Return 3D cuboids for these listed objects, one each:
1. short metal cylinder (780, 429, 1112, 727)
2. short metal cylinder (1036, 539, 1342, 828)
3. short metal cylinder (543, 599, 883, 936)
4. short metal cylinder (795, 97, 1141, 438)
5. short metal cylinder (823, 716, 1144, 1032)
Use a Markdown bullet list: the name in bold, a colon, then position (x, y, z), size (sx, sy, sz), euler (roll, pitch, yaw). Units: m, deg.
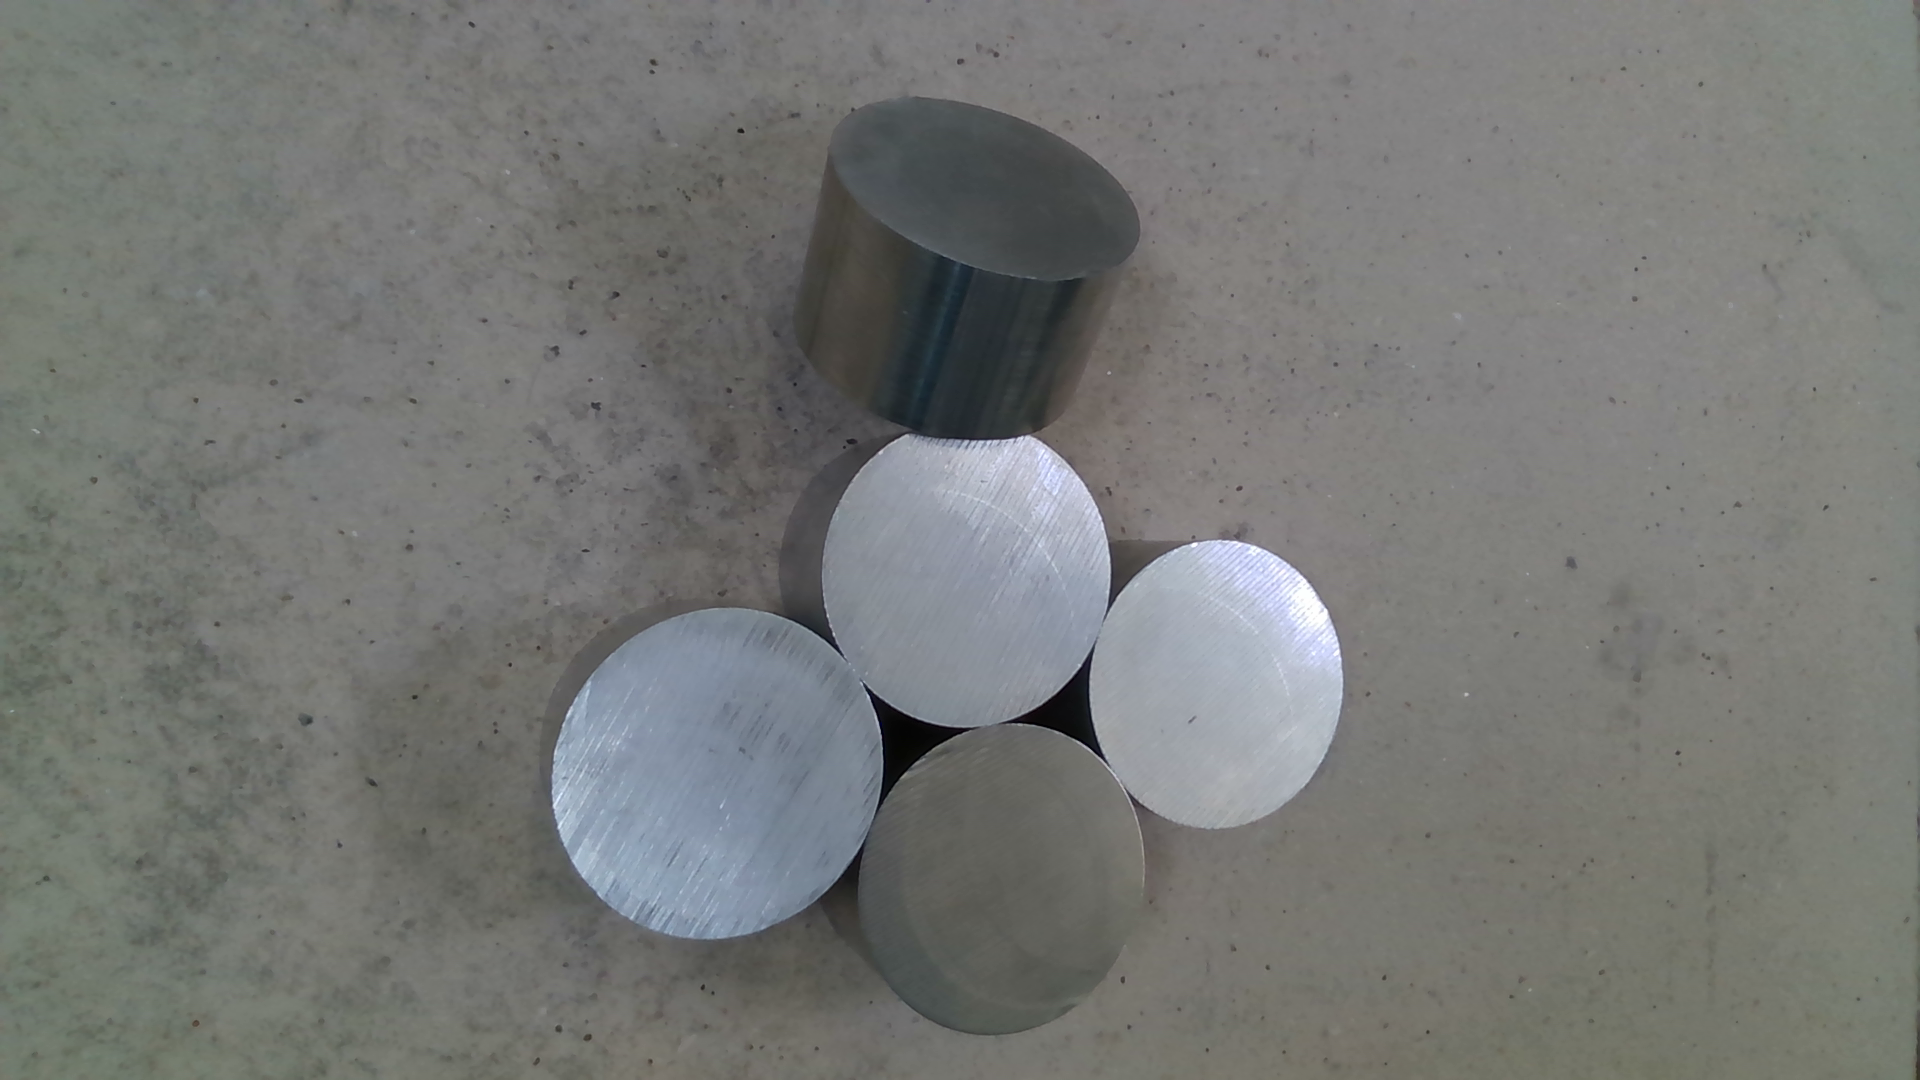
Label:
- **short metal cylinder**: position (-0.006, 0.008, 0.379), size (0.080, 0.050, 0.080), euler (0, 90, -20)
- **short metal cylinder**: position (0.063, 0.040, 0.404), size (0.080, 0.050, 0.080), euler (0, 90, -20)
- **short metal cylinder**: position (-0.066, 0.056, 0.357), size (0.080, 0.050, 0.080), euler (0, 90, -20)
- **short metal cylinder**: position (0.001, -0.072, 0.359), size (0.080, 0.050, 0.080), euler (11, 42, -11)
- **short metal cylinder**: position (0.004, 0.088, 0.383), size (0.080, 0.050, 0.080), euler (0, 90, -20)
